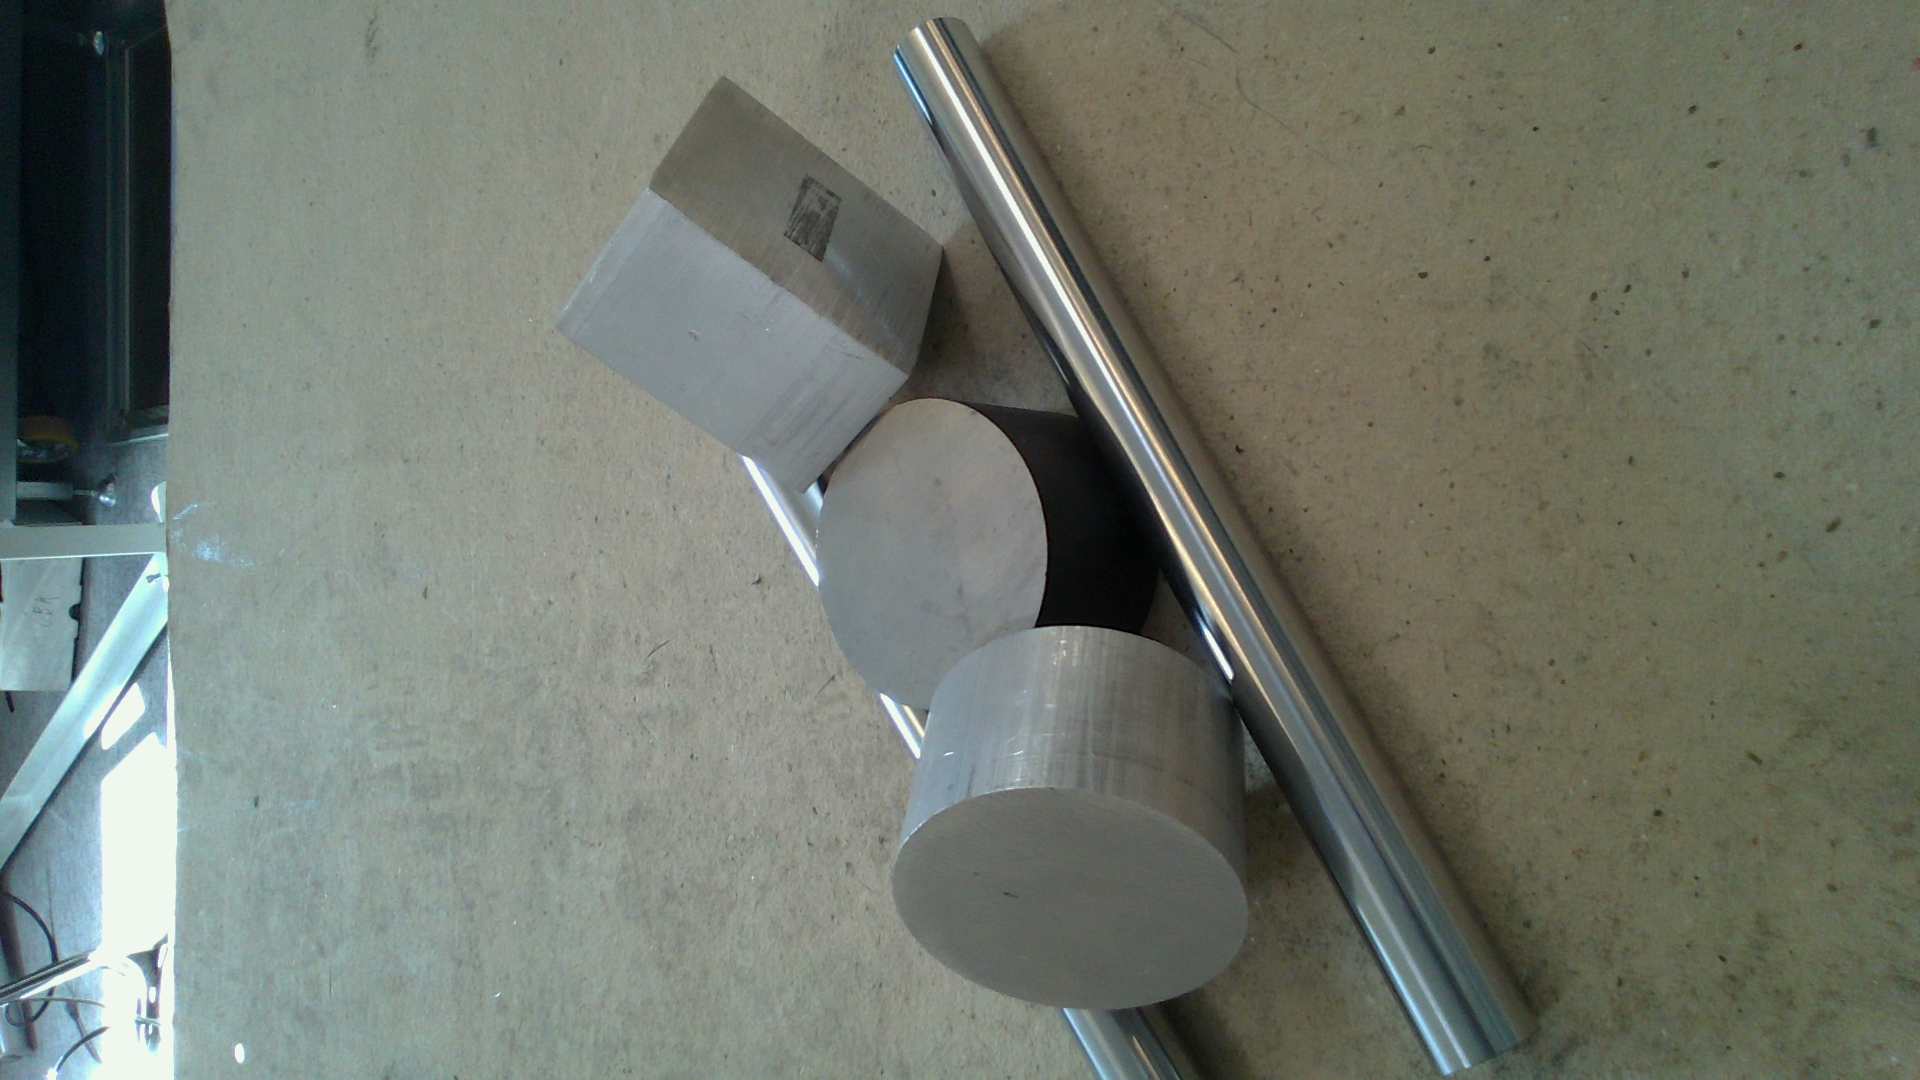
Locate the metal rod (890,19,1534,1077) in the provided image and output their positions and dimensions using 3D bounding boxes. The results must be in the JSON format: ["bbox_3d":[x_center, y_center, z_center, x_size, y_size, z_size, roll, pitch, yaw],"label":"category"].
[{"bbox_3d":[0.052,-0.015,0.351,0.025,0.025,0.300,-40,66,33],"label":"metal rod"}]

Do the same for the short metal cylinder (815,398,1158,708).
[{"bbox_3d":[0.007,0.003,0.373,0.080,0.050,0.080,0,90,40],"label":"short metal cylinder"}]

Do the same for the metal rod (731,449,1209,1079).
[{"bbox_3d":[-0.012,0.045,0.405,0.025,0.025,0.300,-48,61,29],"label":"metal rod"}]

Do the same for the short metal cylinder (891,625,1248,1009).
[{"bbox_3d":[0.028,0.067,0.328,0.080,0.080,0.050,-39,24,33],"label":"short metal cylinder"}]

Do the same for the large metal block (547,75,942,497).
[{"bbox_3d":[-0.056,-0.072,0.386,0.050,0.080,0.080,-44,22,31],"label":"large metal block"}]
